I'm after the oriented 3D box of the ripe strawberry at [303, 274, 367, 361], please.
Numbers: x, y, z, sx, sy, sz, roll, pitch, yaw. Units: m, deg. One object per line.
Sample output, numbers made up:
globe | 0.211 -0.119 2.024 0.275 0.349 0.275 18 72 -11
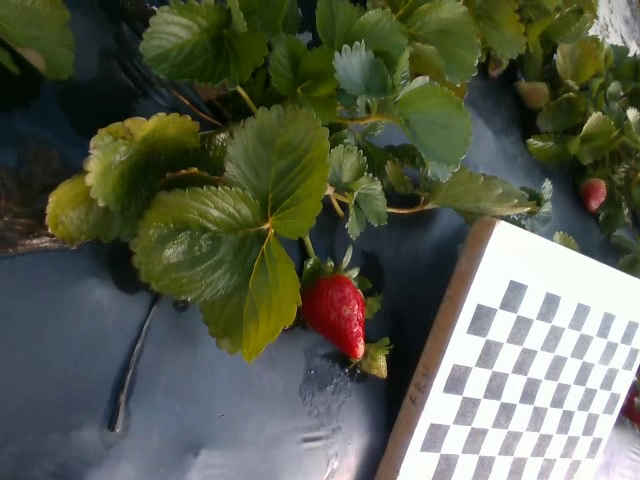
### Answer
ripe strawberry | 0.016 0.054 0.380 0.043 0.057 0.052 -10 -40 -25
